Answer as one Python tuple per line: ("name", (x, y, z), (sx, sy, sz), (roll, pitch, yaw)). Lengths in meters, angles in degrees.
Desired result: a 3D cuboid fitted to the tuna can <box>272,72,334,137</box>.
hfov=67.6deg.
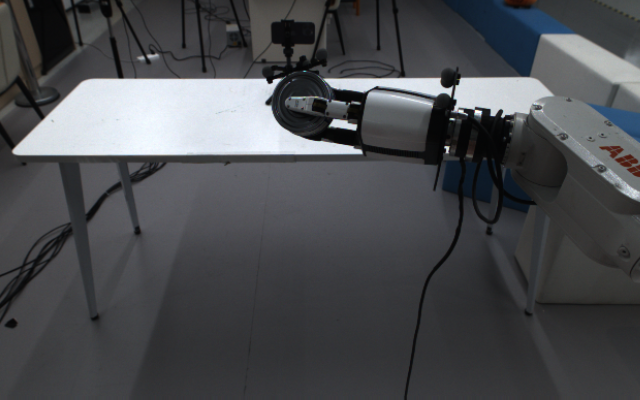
("tuna can", (-0.018, -0.126, 0.660), (0.085, 0.085, 0.034), (12, 3, 14))
